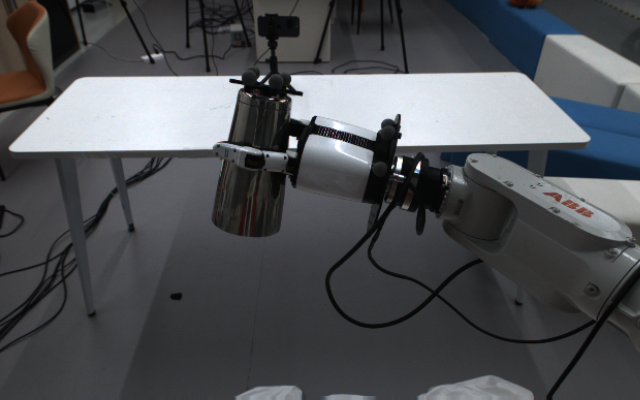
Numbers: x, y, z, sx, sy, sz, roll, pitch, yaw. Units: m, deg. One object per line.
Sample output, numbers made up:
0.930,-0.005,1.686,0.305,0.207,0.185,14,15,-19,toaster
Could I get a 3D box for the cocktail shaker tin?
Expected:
-0.081,-0.050,0.614,0.093,0.170,0.093,10,19,-4,cocktail shaker tin
